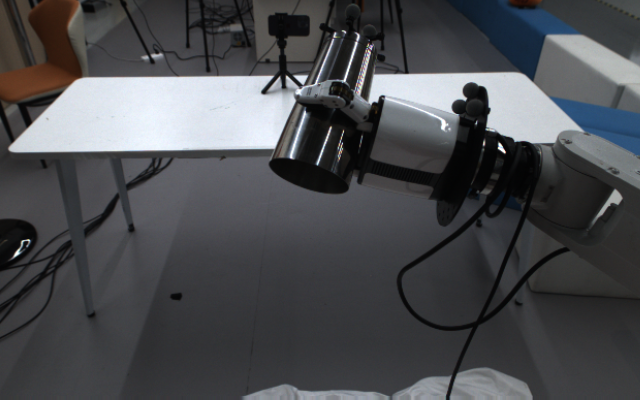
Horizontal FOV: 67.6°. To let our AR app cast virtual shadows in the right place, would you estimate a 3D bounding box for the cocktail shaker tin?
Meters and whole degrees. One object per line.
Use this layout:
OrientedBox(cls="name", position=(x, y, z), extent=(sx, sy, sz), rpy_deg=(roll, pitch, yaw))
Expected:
OrientedBox(cls="cocktail shaker tin", position=(0.013, -0.102, 0.553), extent=(0.093, 0.093, 0.170), rpy_deg=(14, 74, 16))
